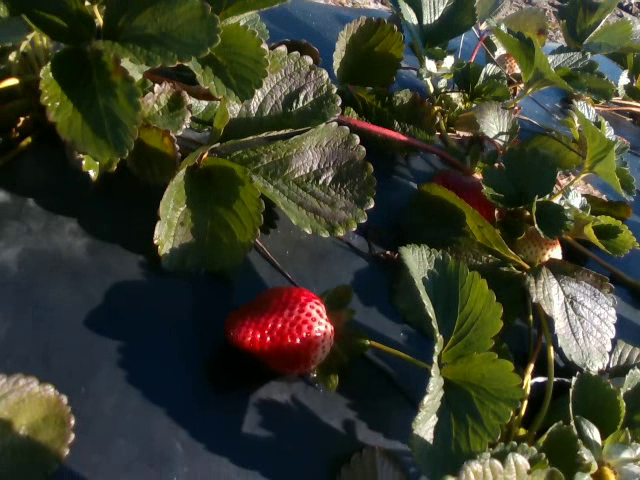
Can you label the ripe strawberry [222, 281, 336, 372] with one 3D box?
[{"bbox_3d":[-0.017,0.036,0.238,0.055,0.042,0.044,2,-4,-42],"label":"ripe strawberry"}]
